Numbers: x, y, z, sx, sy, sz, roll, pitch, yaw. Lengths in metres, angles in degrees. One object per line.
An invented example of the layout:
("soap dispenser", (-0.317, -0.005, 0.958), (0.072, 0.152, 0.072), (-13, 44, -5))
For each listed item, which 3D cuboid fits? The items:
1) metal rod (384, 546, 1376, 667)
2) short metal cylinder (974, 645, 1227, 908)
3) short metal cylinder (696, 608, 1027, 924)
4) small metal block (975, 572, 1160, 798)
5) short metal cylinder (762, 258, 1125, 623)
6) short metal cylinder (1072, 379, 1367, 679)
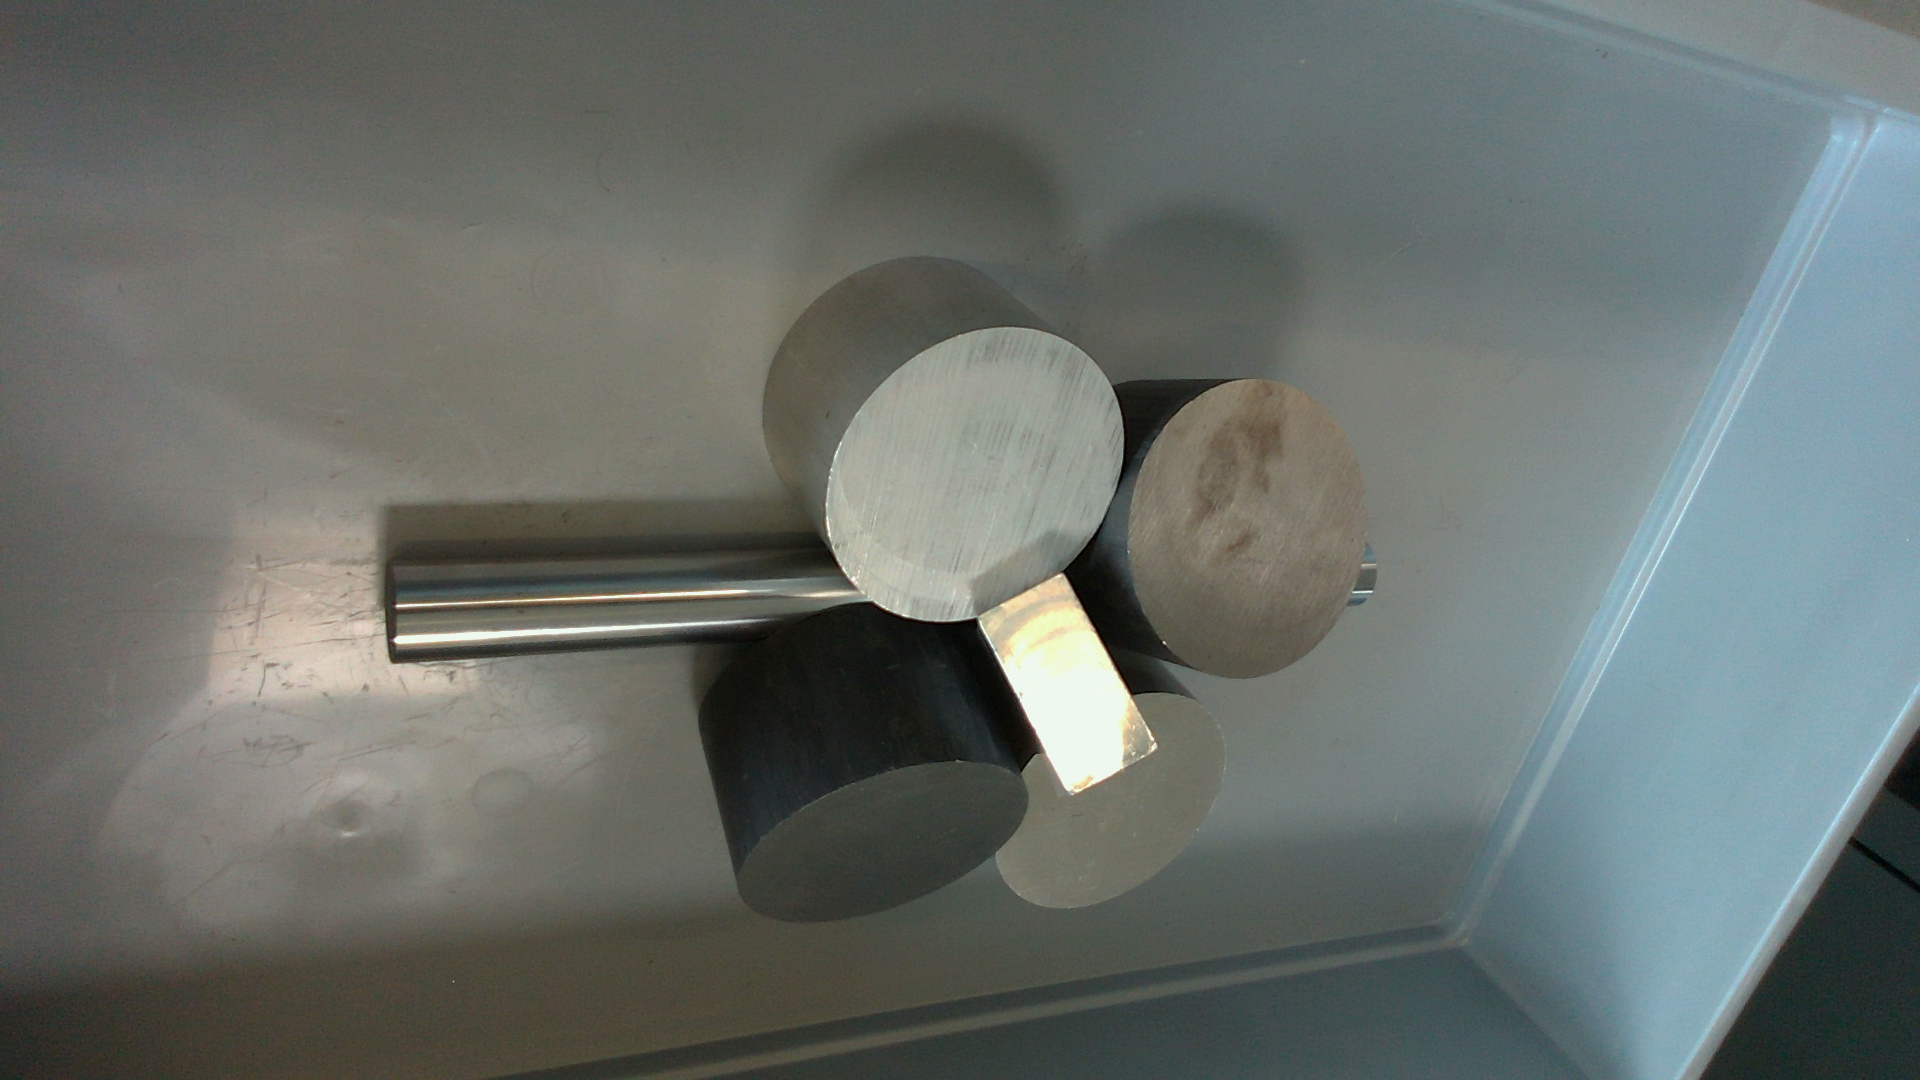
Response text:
("metal rod", (-0.002, 0.014, 0.395), (0.301, 0.025, 0.025), (-2, 119, -28))
("short metal cylinder", (0.036, 0.068, 0.432), (0.080, 0.050, 0.080), (-14, 124, -21))
("short metal cylinder", (-0.028, 0.063, 0.380), (0.080, 0.050, 0.080), (-16, 144, -11))
("small metal block", (0.027, 0.040, 0.365), (0.025, 0.050, 0.050), (-27, 170, -4))
("short metal cylinder", (-0.005, -0.026, 0.353), (0.080, 0.050, 0.080), (-14, 124, -21))
("short metal cylinder", (0.067, -0.005, 0.388), (0.080, 0.050, 0.080), (-3, 97, -28))
